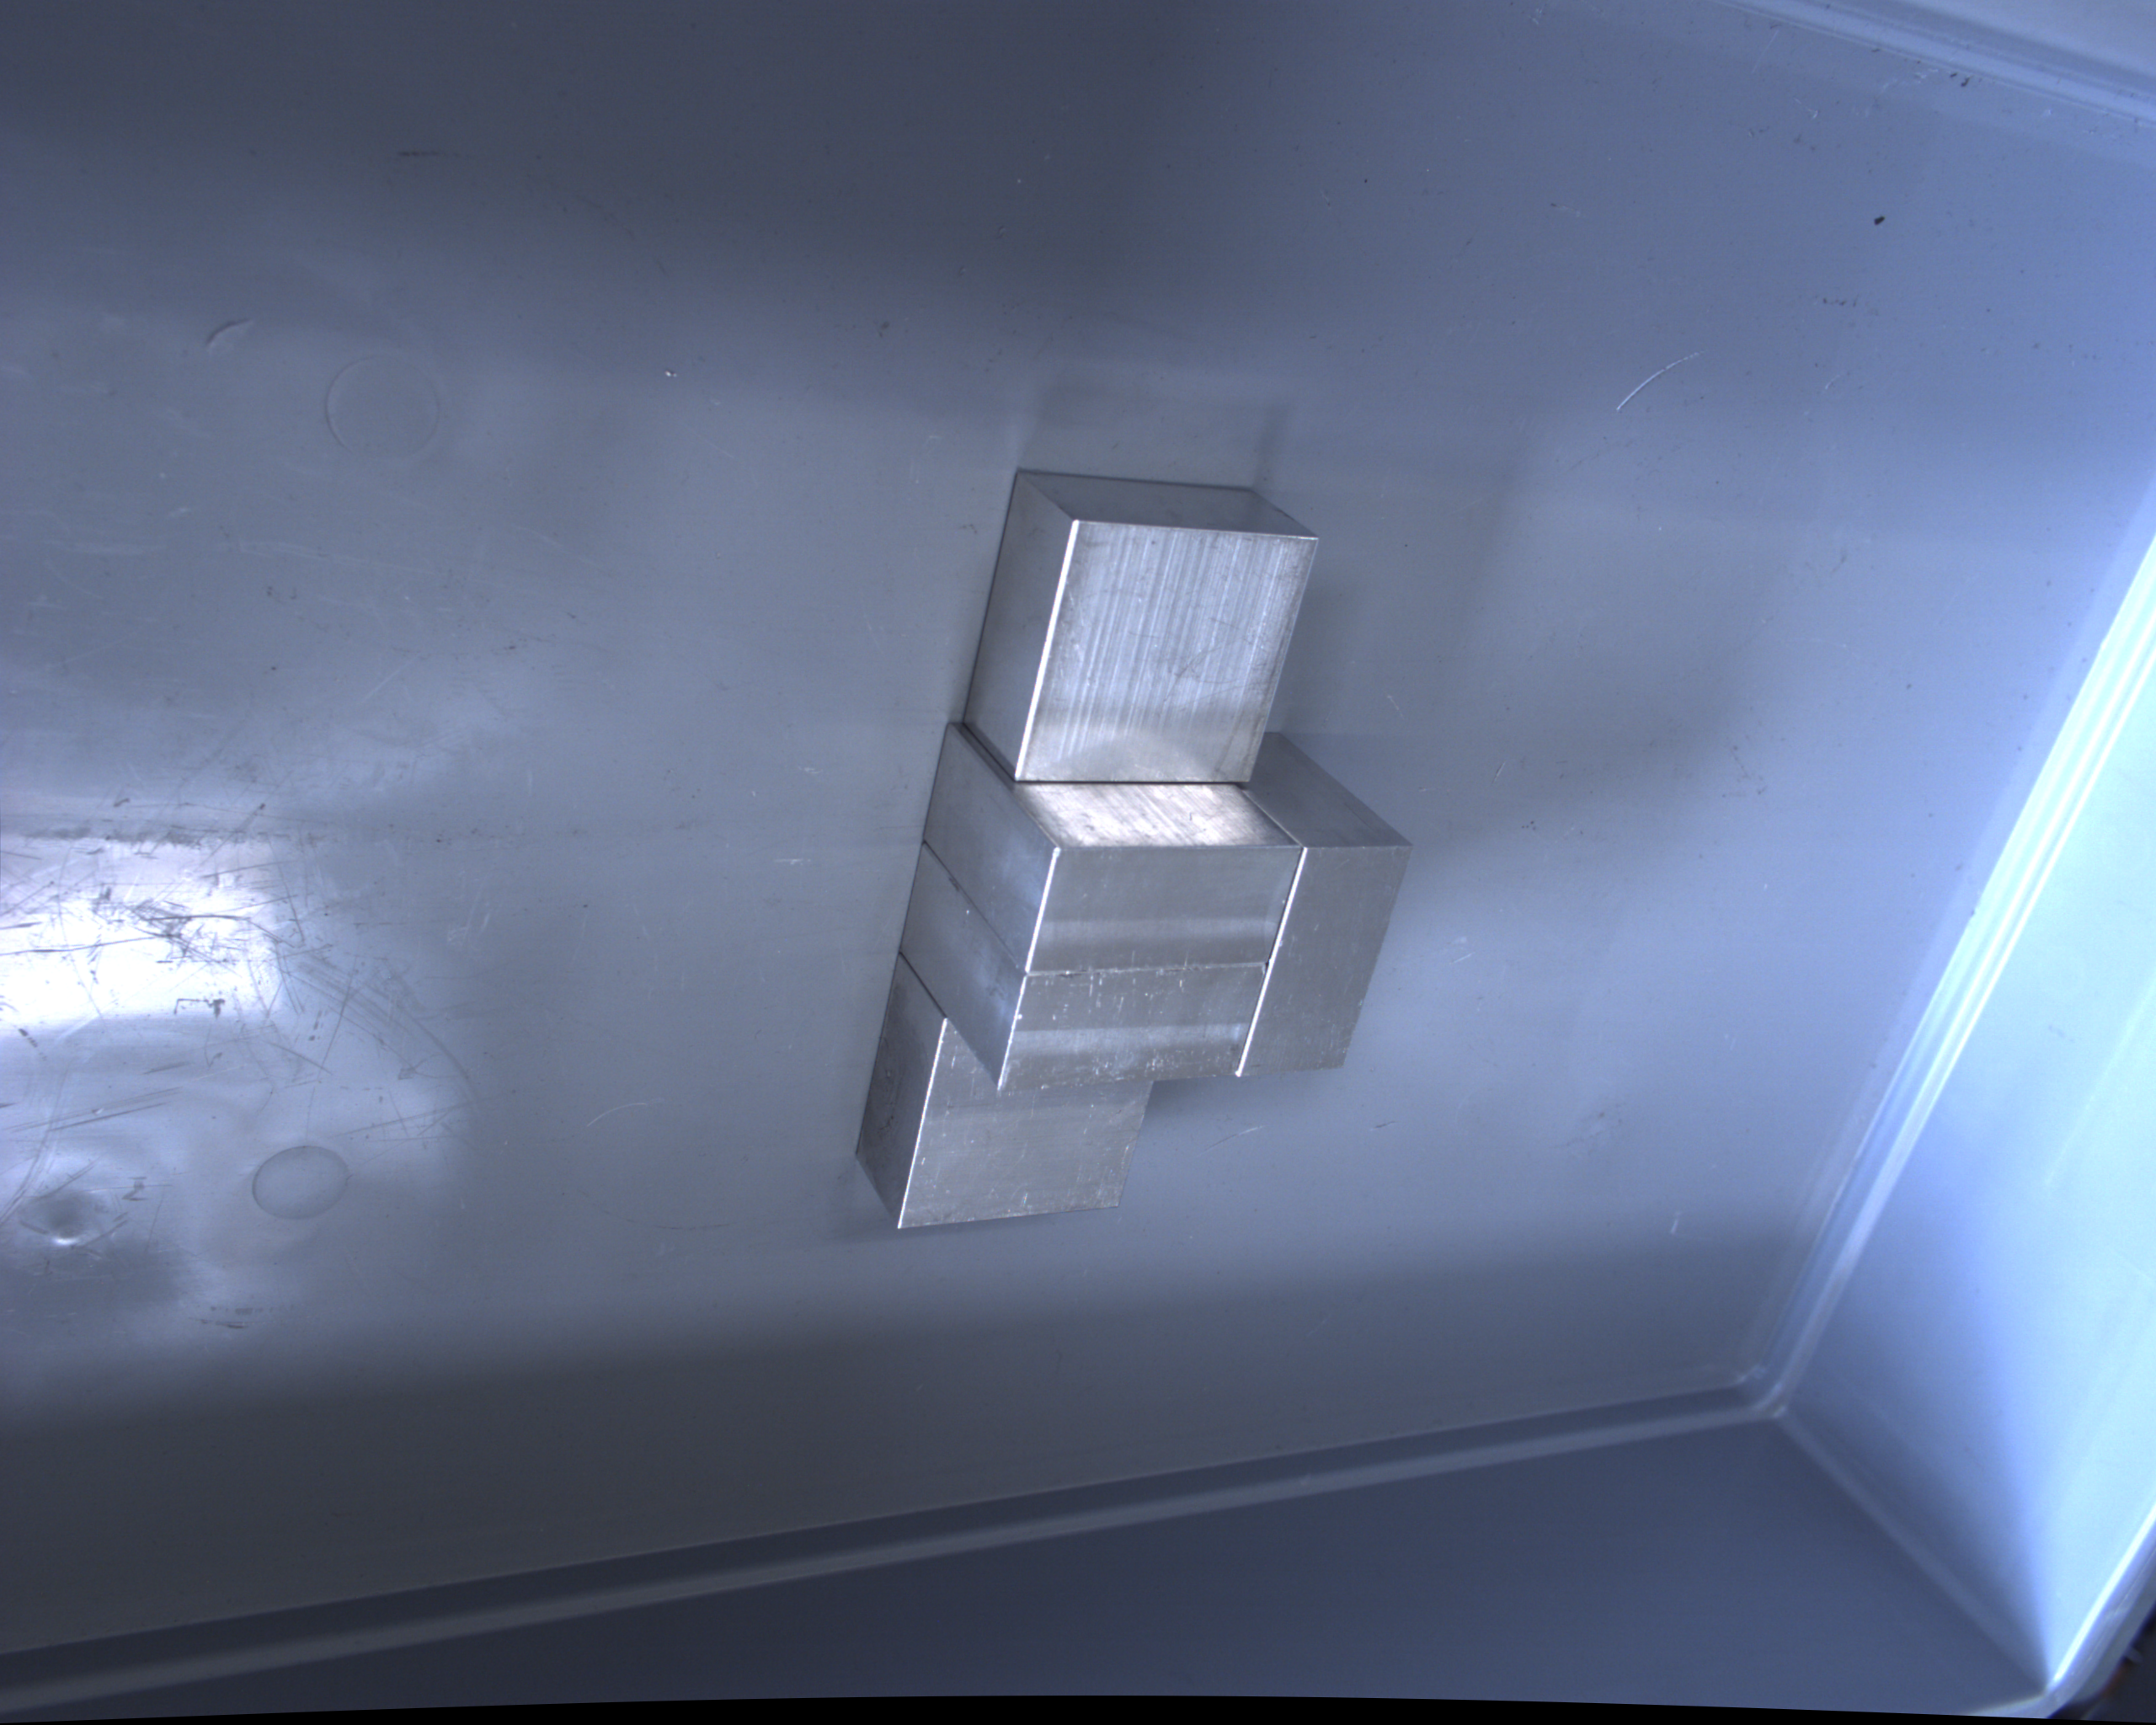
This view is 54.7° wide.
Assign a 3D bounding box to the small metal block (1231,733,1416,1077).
[{"bbox_3d":[0.036,0.007,0.414,0.025,0.050,0.050,0,119,-28],"label":"small metal block"}]

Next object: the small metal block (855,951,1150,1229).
[{"bbox_3d":[-0.014,0.045,0.426,0.050,0.025,0.050,0,119,-28],"label":"small metal block"}]

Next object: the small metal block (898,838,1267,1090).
[{"bbox_3d":[0.000,0.018,0.401,0.050,0.050,0.025,0,119,-28],"label":"small metal block"}]

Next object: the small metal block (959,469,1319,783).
[{"bbox_3d":[0.011,-0.043,0.385,0.050,0.025,0.050,0,119,-28],"label":"small metal block"}]

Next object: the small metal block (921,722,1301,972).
[{"bbox_3d":[0.005,-0.004,0.390,0.050,0.050,0.025,0,119,-28],"label":"small metal block"}]
